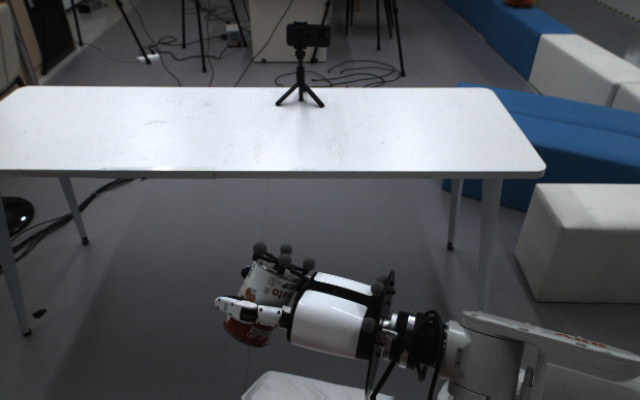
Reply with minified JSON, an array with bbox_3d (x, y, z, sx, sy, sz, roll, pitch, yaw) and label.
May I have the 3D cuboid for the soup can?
[{"bbox_3d":[-0.075,0.133,0.637,0.067,0.101,0.067,27,6,-3],"label":"soup can"}]
